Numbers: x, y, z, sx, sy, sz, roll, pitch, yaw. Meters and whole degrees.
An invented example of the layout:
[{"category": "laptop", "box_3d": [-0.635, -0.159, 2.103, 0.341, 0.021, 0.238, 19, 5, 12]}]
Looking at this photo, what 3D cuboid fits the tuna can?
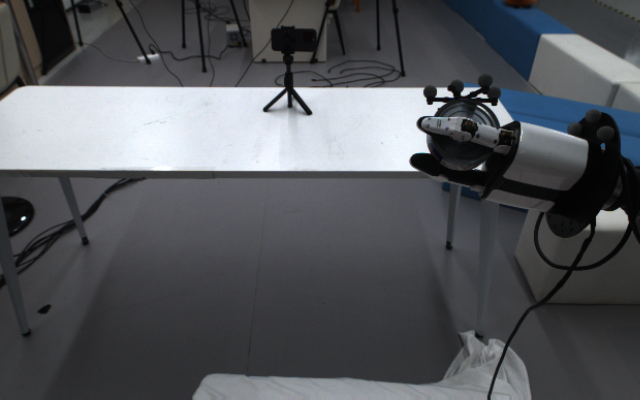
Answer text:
[{"category": "tuna can", "box_3d": [0.178, -0.084, 0.607, 0.085, 0.034, 0.085, -1, 74, 4]}]
